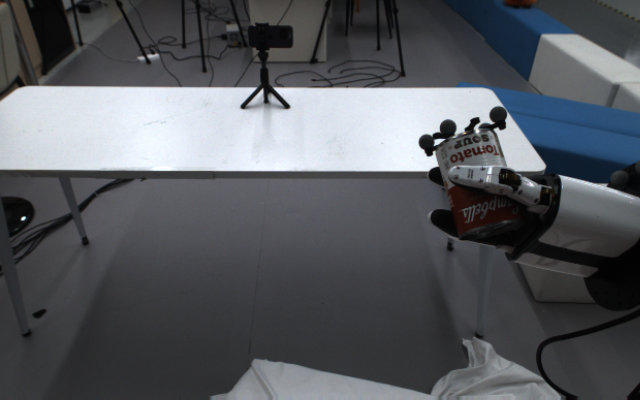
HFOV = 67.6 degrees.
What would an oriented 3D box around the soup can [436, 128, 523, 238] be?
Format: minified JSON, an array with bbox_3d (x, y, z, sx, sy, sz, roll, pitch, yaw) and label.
[{"bbox_3d":[0.169,-0.017,0.511,0.067,0.067,0.101,-8,74,-14],"label":"soup can"}]
